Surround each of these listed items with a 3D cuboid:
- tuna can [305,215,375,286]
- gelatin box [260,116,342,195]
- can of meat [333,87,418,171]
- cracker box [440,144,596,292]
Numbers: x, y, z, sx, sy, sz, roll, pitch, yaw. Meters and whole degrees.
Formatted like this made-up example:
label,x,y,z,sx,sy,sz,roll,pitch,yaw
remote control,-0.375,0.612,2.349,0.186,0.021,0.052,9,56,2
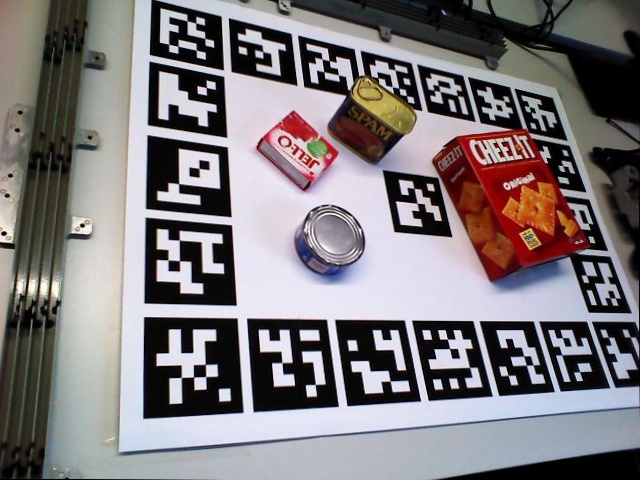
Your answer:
label,x,y,z,sx,sy,sz,roll,pitch,yaw
tuna can,0.024,0.014,0.654,0.085,0.034,0.085,10,65,-21
gelatin box,-0.024,-0.116,0.702,0.089,0.030,0.073,43,51,-4
can of meat,0.080,-0.157,0.751,0.102,0.084,0.057,31,55,-8
cracker box,0.310,-0.042,0.810,0.163,0.072,0.213,-12,69,-32
